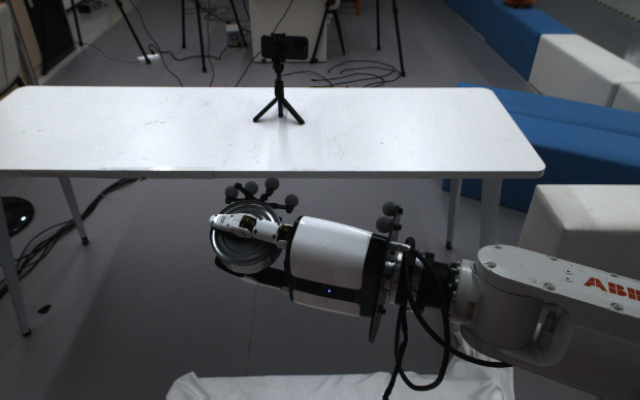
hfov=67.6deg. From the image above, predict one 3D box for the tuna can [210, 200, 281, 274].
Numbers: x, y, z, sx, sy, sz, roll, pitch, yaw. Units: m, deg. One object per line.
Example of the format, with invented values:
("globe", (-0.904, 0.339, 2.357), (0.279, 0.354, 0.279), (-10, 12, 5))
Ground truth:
("tuna can", (-0.086, 0.044, 0.584), (0.085, 0.034, 0.085), (-2, 58, 4))
